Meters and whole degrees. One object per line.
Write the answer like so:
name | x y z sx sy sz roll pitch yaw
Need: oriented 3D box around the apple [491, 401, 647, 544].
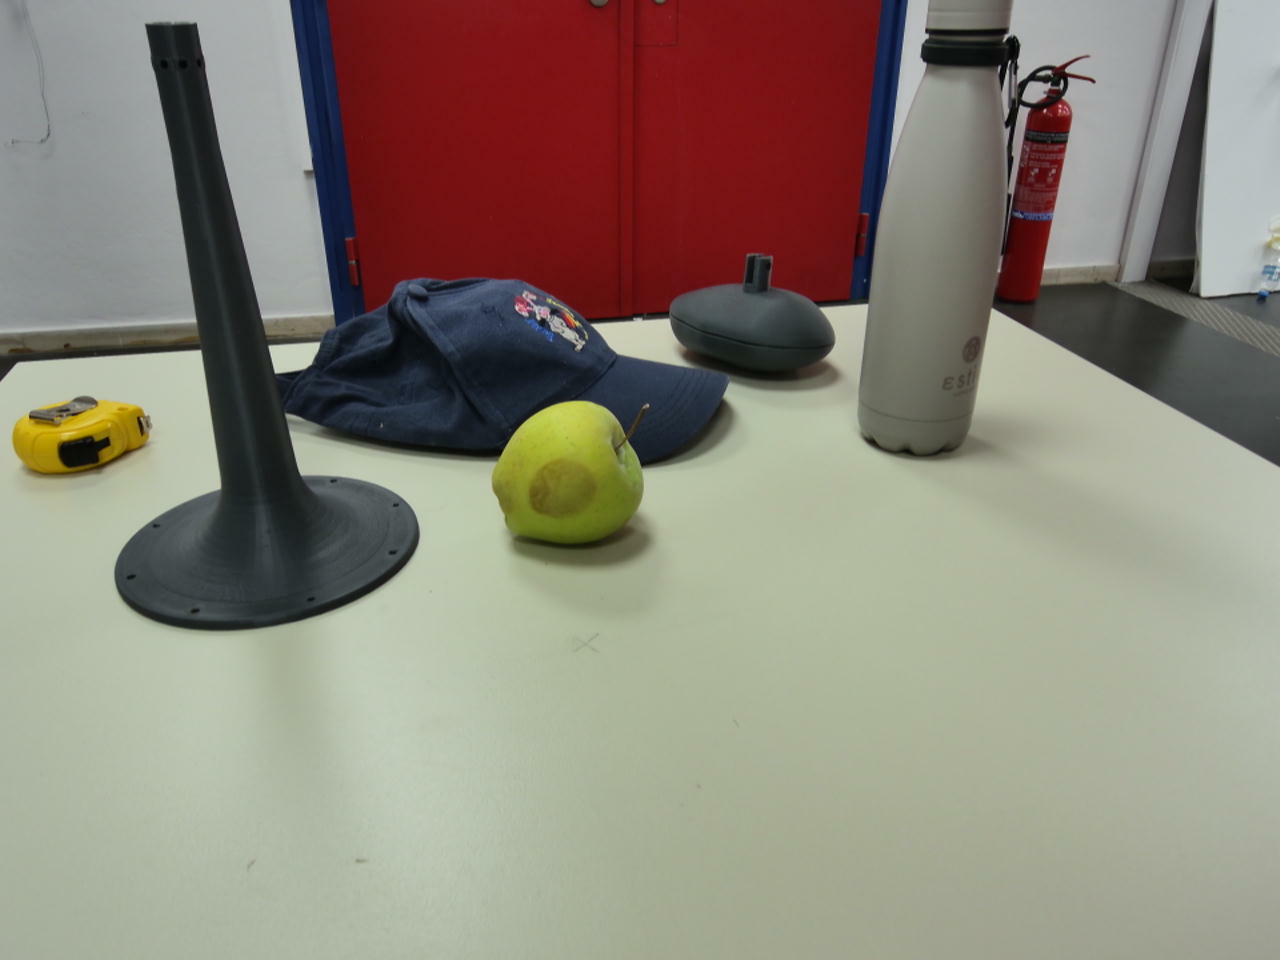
apple | -0.037 -0.005 0.529 0.077 0.075 0.072 16 29 28
